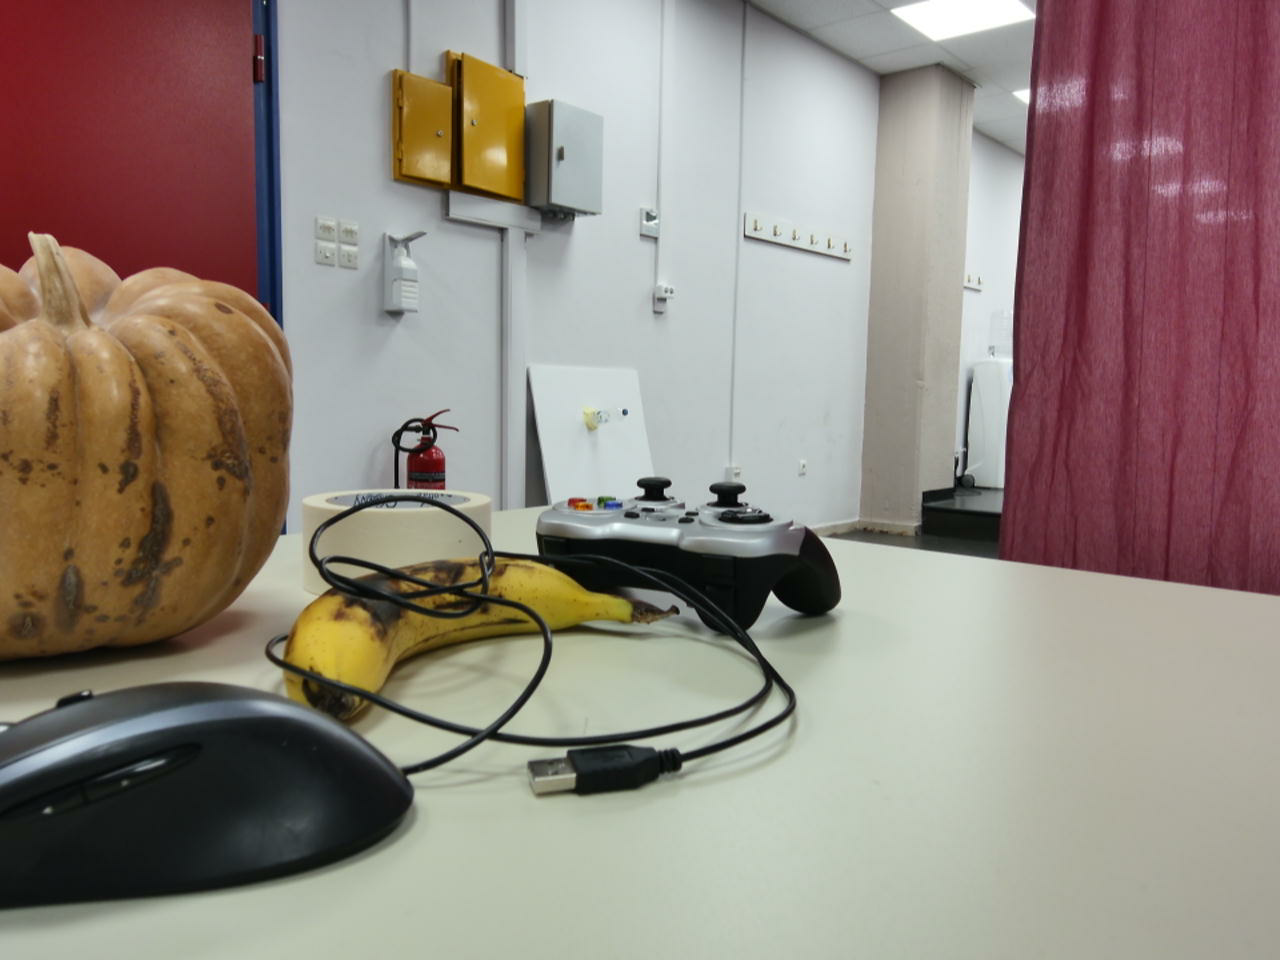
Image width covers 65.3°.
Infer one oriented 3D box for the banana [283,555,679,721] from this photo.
[{"bbox_3d":[-0.079,0.058,0.421,0.094,0.039,0.187,2,5,37],"label":"banana"}]
